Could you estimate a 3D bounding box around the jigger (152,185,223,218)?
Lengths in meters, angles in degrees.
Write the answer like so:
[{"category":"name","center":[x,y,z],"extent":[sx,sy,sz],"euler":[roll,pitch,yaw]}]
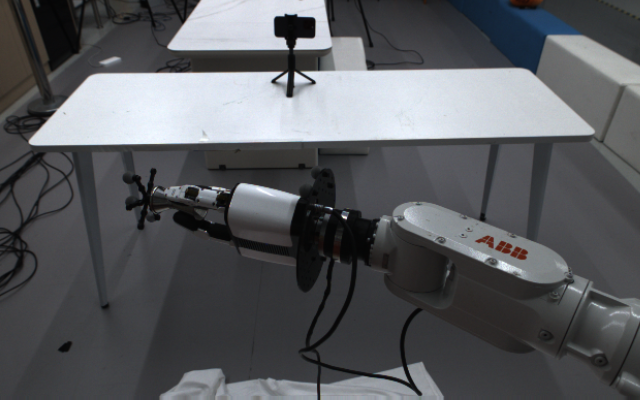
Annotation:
[{"category":"jigger","center":[-0.187,-0.001,0.671],"extent":[0.071,0.043,0.043],"euler":[5,34,13]}]
